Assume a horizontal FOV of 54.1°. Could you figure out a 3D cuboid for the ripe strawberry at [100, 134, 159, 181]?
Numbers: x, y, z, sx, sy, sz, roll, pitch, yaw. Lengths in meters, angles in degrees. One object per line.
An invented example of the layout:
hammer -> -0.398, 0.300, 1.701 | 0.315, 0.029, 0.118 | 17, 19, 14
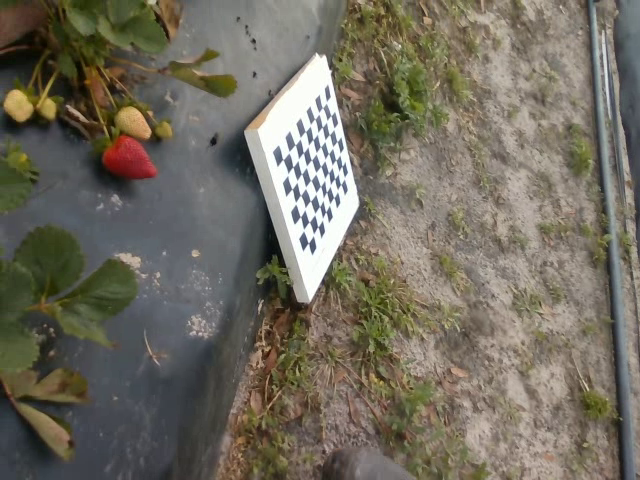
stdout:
ripe strawberry -> -0.190, -0.083, 0.632 | 0.059, 0.050, 0.034 | 29, -41, -7
